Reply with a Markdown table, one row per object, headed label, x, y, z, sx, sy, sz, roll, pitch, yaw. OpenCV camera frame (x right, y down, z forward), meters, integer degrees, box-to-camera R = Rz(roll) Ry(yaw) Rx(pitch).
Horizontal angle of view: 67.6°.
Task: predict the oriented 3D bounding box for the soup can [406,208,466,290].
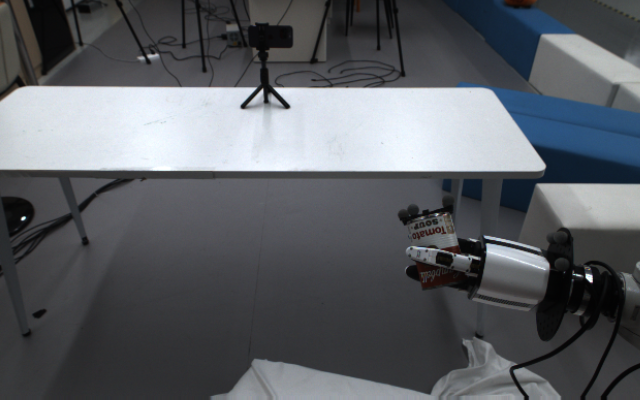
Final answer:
| label | x | y | z | sx | sy | sz | roll | pitch | yaw |
| --- | --- | --- | --- | --- | --- | --- | --- | --- | --- |
| soup can | 0.171 | 0.074 | 0.707 | 0.067 | 0.067 | 0.101 | -9 | 80 | -16 |
